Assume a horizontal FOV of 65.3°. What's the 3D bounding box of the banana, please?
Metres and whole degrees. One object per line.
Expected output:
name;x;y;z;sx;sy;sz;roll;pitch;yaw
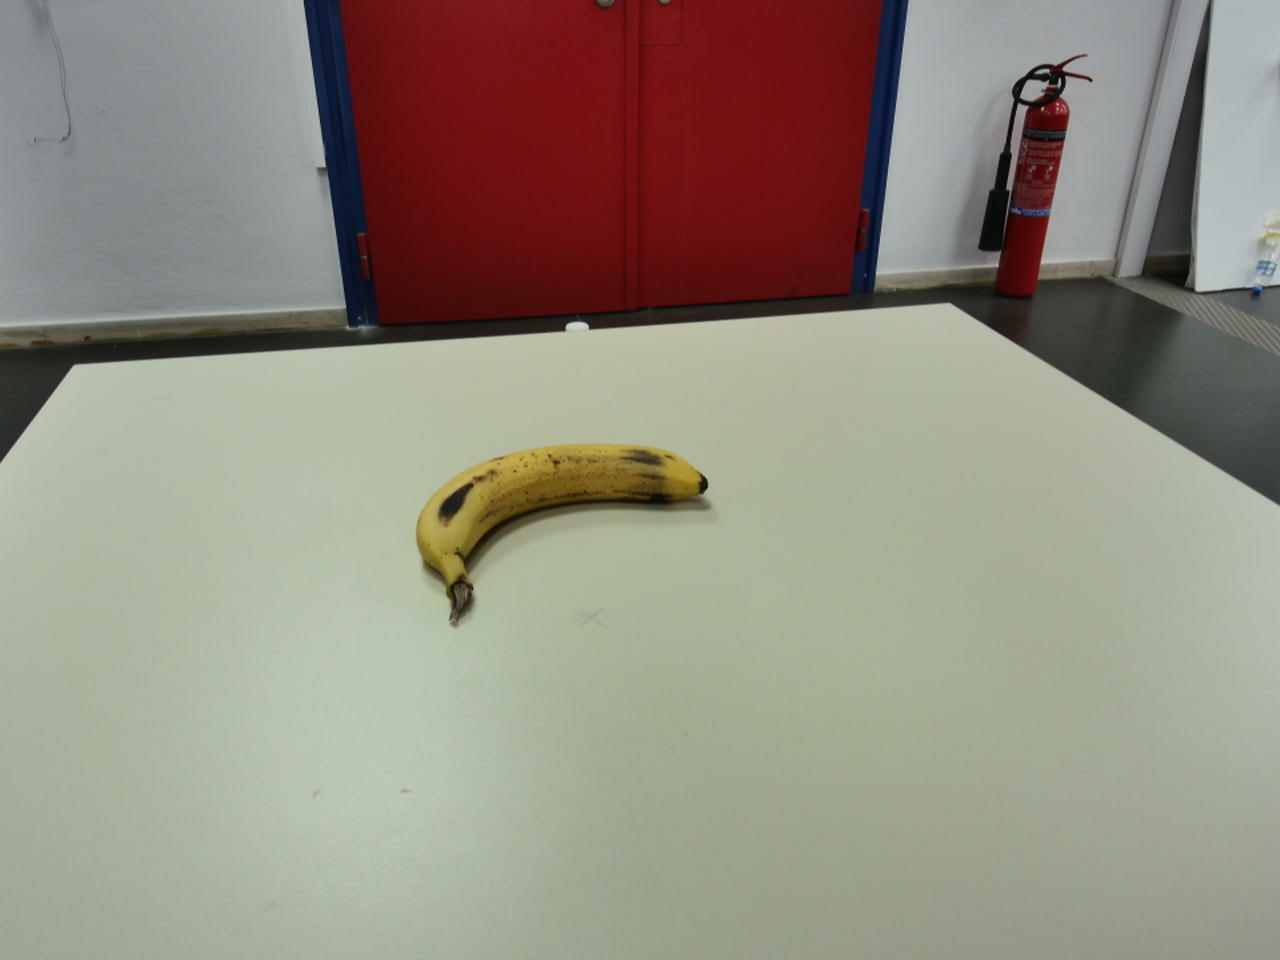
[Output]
banana;-0.055;0.013;0.602;0.186;0.038;0.097;-21;33;-36
